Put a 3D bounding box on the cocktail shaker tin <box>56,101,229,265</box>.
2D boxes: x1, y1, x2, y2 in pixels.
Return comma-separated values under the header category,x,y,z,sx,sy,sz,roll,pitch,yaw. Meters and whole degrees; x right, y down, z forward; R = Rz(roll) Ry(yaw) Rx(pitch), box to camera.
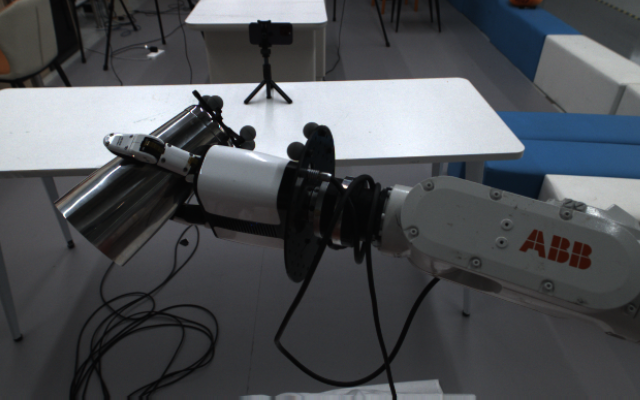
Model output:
category,x,y,z,sx,sy,sz,roll,pitch,yaw
cocktail shaker tin,-0.176,-0.025,0.516,0.170,0.093,0.093,-43,50,-14
